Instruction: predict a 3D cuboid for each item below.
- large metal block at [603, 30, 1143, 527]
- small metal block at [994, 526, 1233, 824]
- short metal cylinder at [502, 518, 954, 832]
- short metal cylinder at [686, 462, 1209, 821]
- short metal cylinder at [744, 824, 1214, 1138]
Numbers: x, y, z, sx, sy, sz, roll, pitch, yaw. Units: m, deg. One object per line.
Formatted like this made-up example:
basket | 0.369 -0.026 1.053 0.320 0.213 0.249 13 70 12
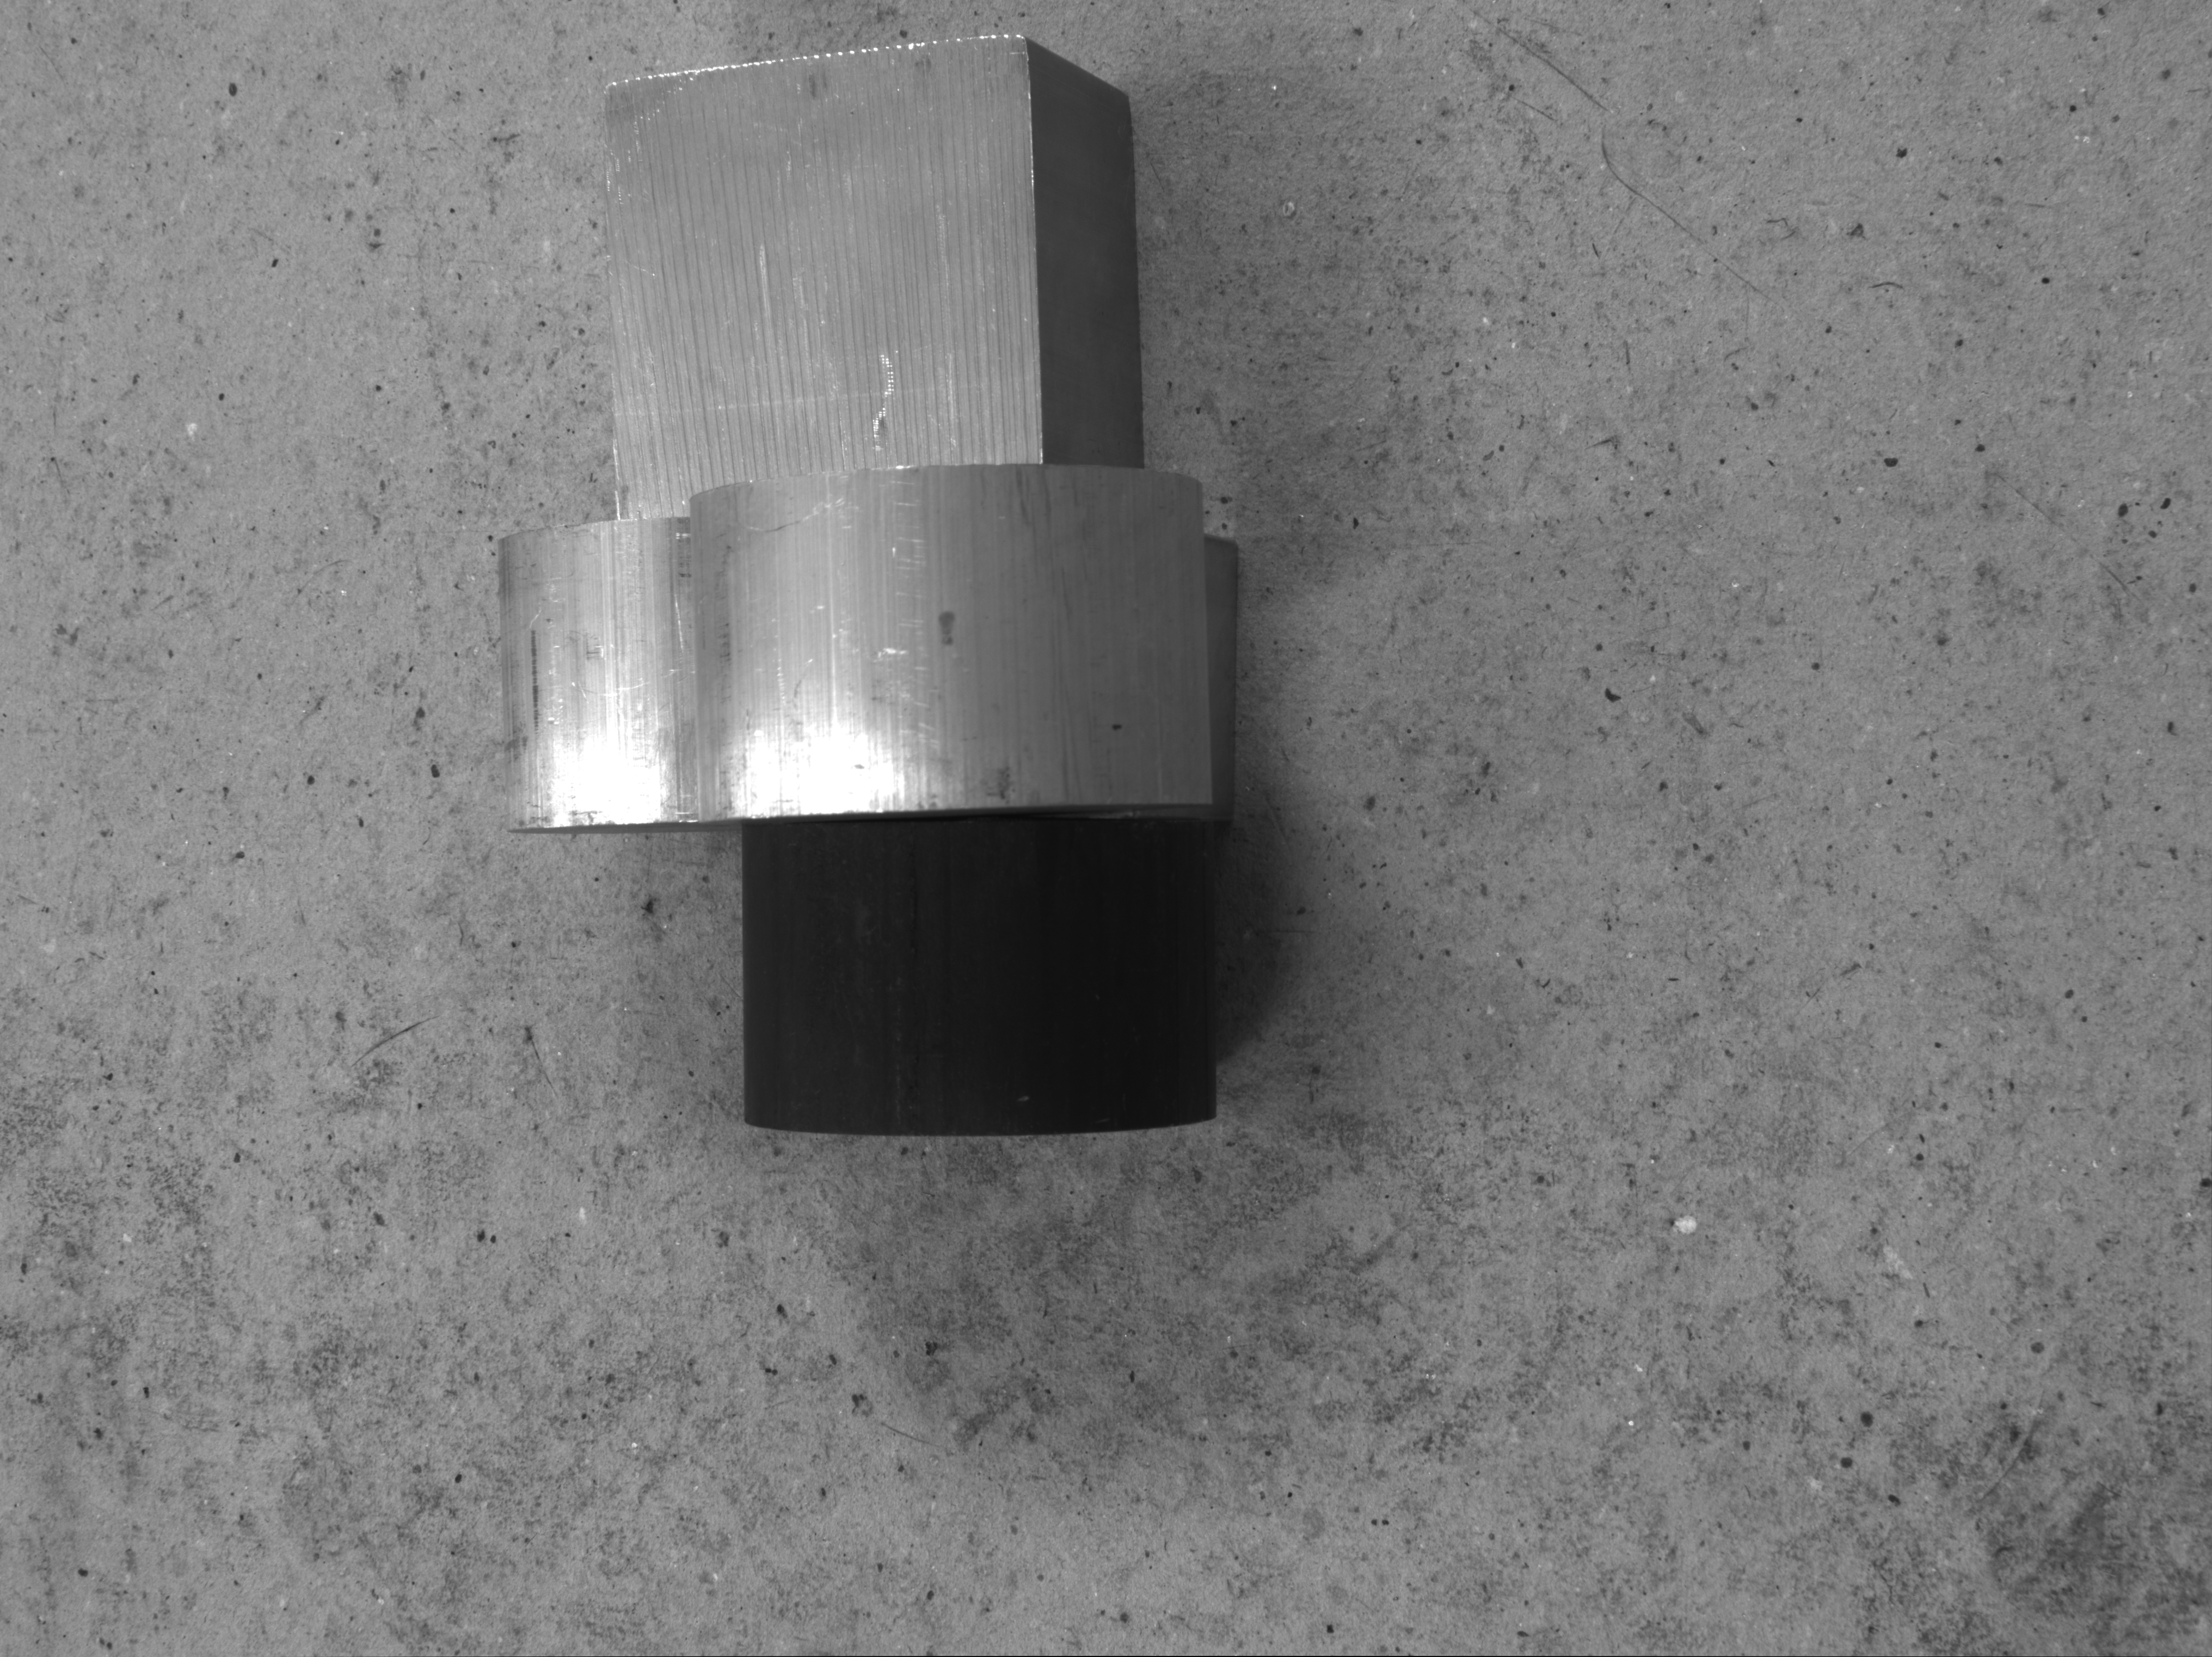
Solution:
large metal block | -0.040 -0.092 0.649 0.080 0.050 0.080 -2 89 20
small metal block | 0.002 -0.026 0.635 0.025 0.050 0.050 1 90 20
short metal cylinder | -0.065 -0.026 0.642 0.080 0.080 0.050 -2 89 20
short metal cylinder | -0.025 -0.027 0.574 0.080 0.080 0.050 -2 89 20
short metal cylinder | -0.021 0.025 0.626 0.080 0.080 0.050 0 90 20
